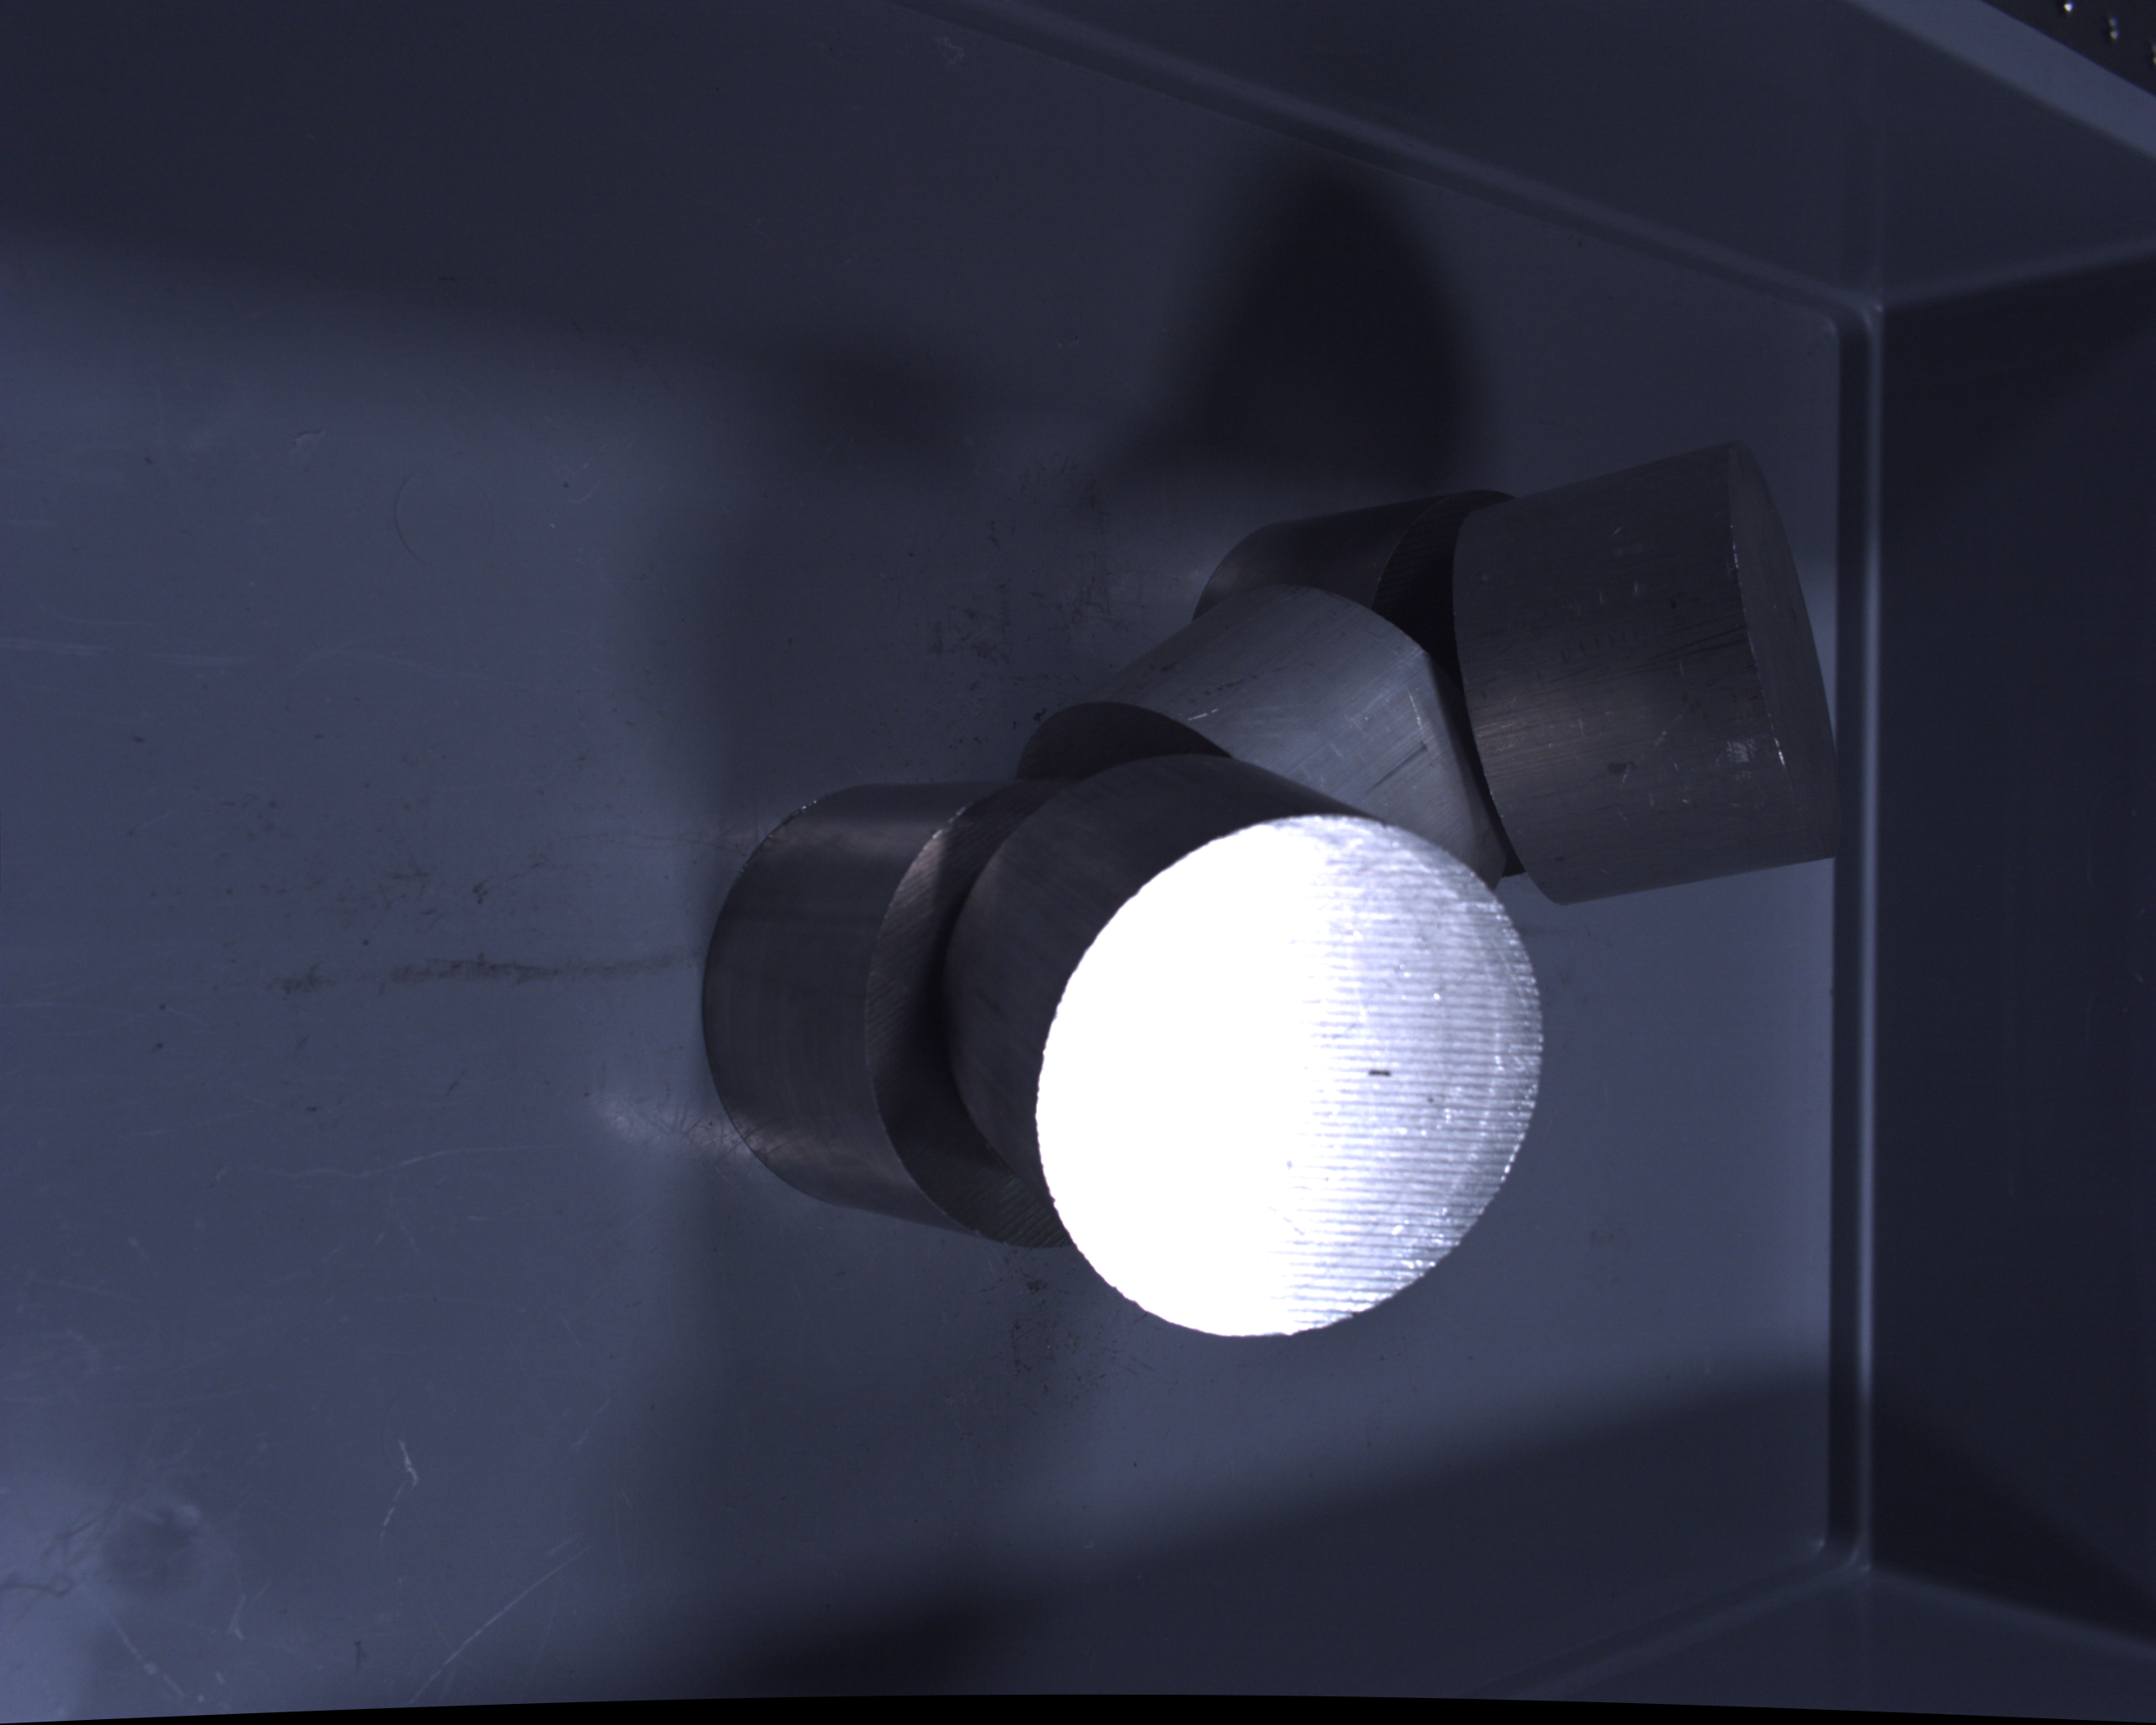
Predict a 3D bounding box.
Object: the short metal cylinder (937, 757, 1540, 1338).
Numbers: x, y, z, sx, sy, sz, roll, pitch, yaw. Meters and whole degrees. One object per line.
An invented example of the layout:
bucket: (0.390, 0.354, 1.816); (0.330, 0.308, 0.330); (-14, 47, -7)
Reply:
short metal cylinder: (0.024, 0.027, 0.326); (0.081, 0.050, 0.079); (-5, 104, -19)

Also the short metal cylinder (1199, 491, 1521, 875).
short metal cylinder: (0.070, -0.037, 0.449); (0.081, 0.050, 0.079); (0, 90, -40)

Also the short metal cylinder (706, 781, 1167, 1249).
short metal cylinder: (-0.019, 0.026, 0.374); (0.081, 0.050, 0.079); (0, 90, -40)

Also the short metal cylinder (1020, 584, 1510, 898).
short metal cylinder: (0.035, -0.007, 0.400); (0.050, 0.080, 0.080); (-37, 113, -34)

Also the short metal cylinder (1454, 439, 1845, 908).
short metal cylinder: (0.110, -0.035, 0.398); (0.080, 0.050, 0.080); (35, 49, -52)
